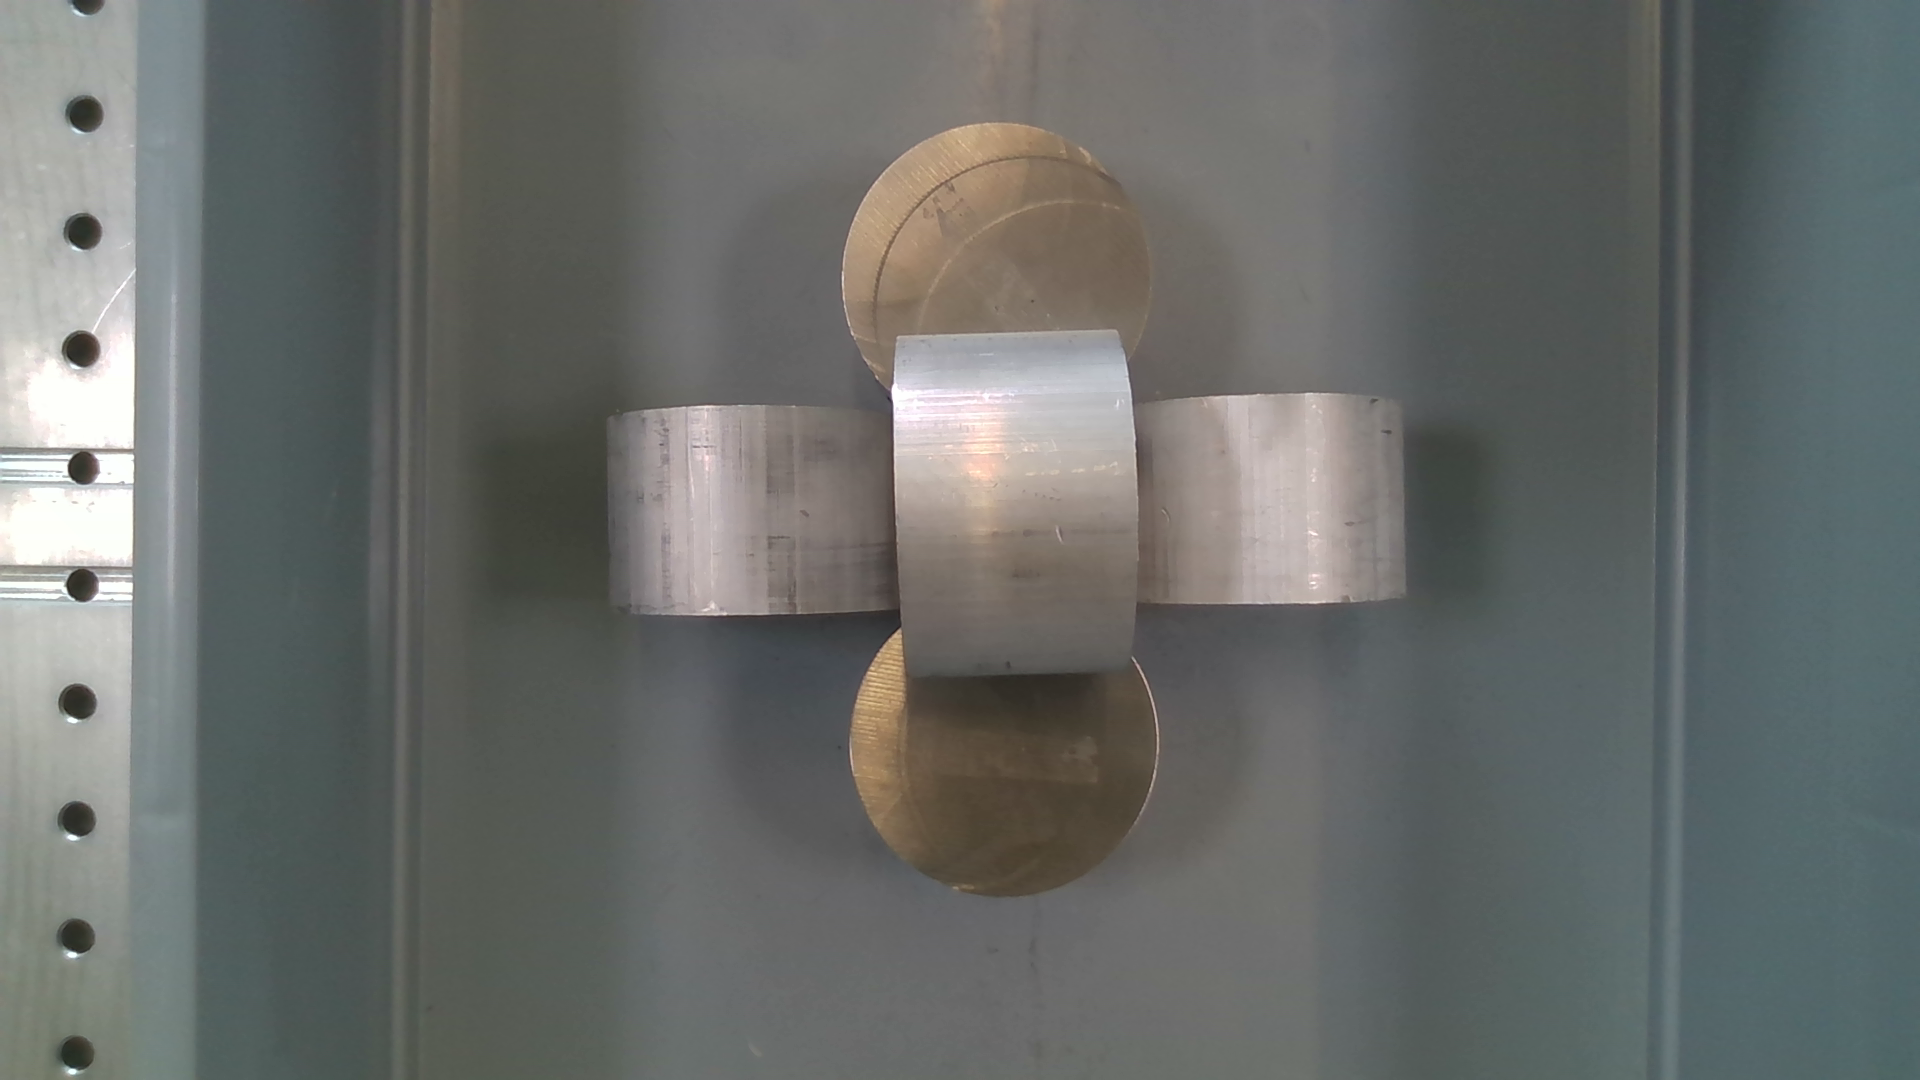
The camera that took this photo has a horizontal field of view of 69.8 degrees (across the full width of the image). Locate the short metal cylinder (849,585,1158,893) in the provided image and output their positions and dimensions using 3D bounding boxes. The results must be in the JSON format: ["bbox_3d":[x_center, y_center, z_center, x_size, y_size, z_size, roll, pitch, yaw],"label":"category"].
[{"bbox_3d":[0.011,0.052,0.381,0.080,0.050,0.080,0,90,0],"label":"short metal cylinder"}]

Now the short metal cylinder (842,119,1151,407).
[{"bbox_3d":[0.009,-0.069,0.381,0.080,0.050,0.080,0,90,0],"label":"short metal cylinder"}]

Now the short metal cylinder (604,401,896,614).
[{"bbox_3d":[-0.053,-0.008,0.366,0.080,0.080,0.050,-2,91,0],"label":"short metal cylinder"}]

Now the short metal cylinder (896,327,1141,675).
[{"bbox_3d":[0.012,-0.009,0.322,0.050,0.080,0.080,-1,90,0],"label":"short metal cylinder"}]

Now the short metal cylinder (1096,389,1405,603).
[{"bbox_3d":[0.076,-0.011,0.366,0.080,0.080,0.050,-2,91,0],"label":"short metal cylinder"}]
